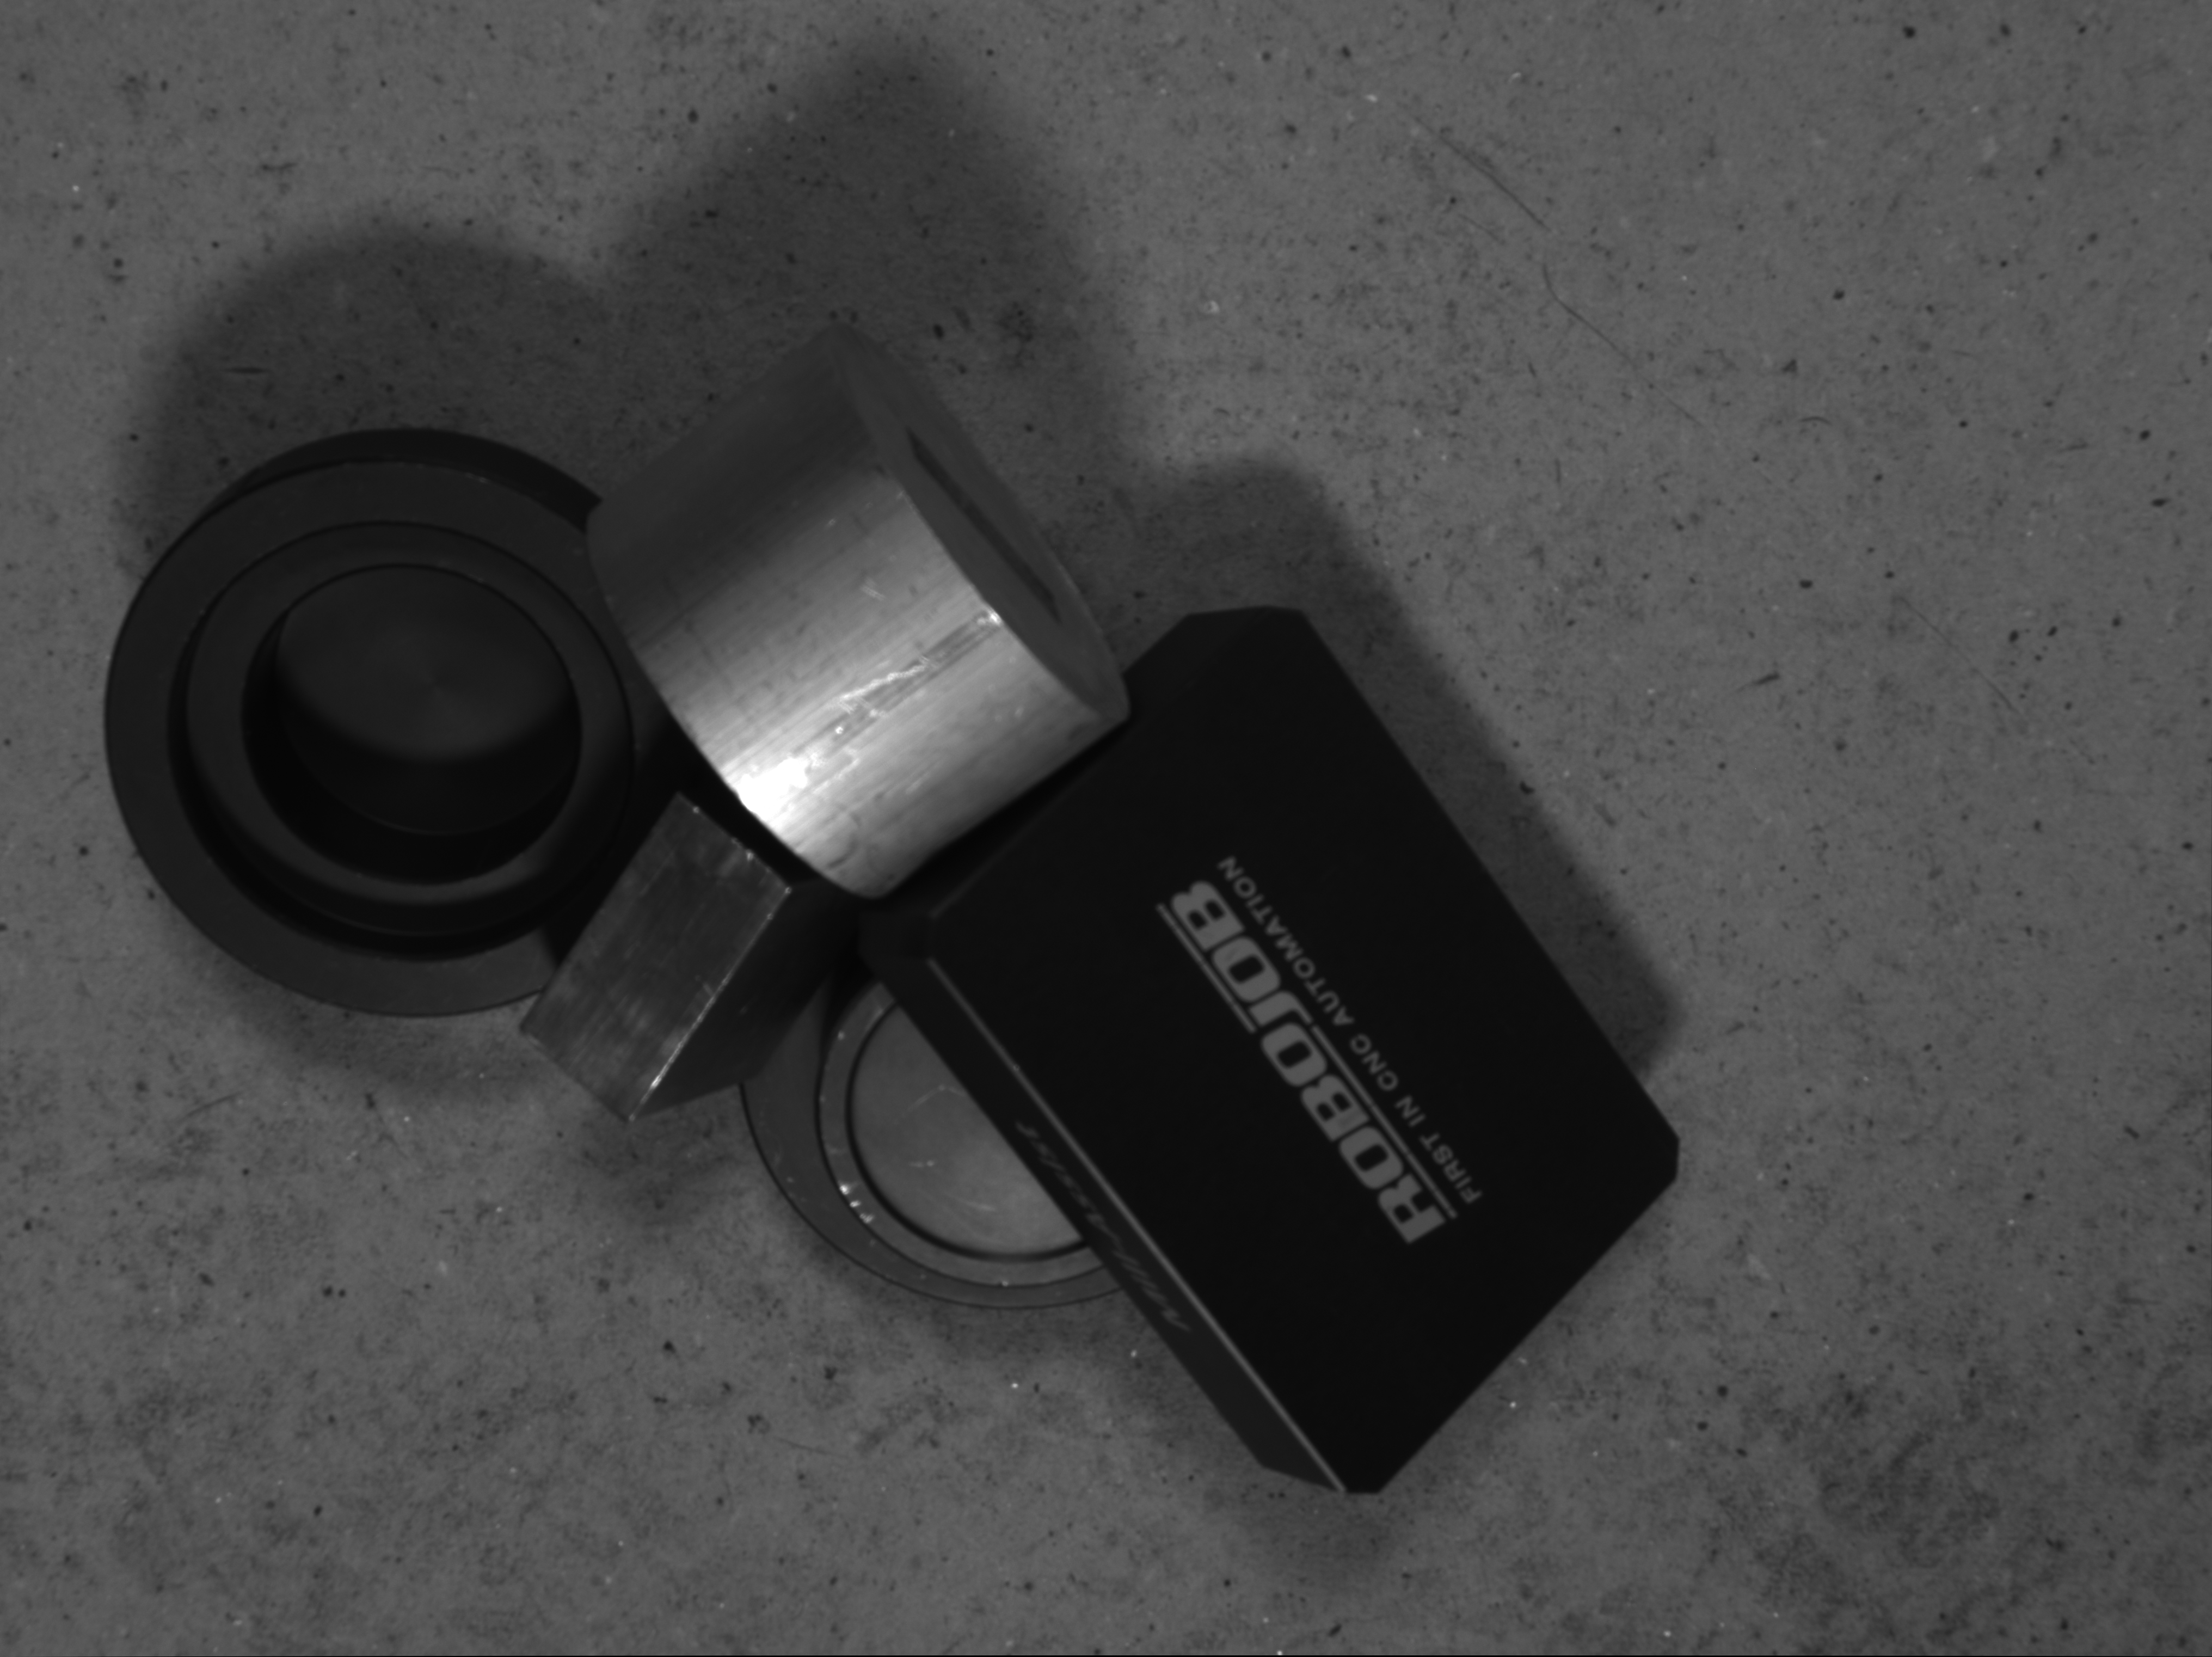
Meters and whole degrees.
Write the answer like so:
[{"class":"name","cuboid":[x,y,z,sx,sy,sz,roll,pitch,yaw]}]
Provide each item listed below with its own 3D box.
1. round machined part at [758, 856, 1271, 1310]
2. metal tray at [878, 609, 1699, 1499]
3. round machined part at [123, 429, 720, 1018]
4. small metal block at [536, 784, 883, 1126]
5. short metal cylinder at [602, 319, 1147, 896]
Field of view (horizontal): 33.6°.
[{"class":"round machined part","cuboid":[-0.013,0.042,0.649,0.098,0.042,0.098,0,110,-1]},{"class":"metal tray","cuboid":[0.034,0.039,0.631,0.090,0.030,0.130,-43,108,-19]},{"class":"round machined part","cuboid":[-0.114,-0.021,0.625,0.098,0.042,0.098,0,110,-1]},{"class":"small metal block","cuboid":[-0.062,0.019,0.617,0.025,0.050,0.050,39,106,12]},{"class":"short metal cylinder","cuboid":[-0.037,-0.036,0.601,0.050,0.080,0.080,-36,106,12]}]
